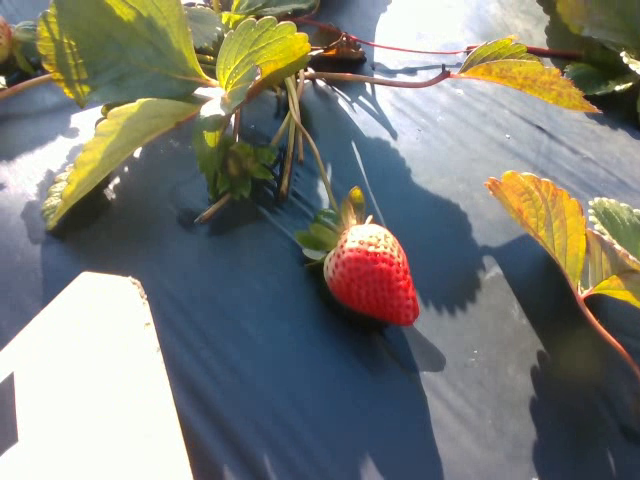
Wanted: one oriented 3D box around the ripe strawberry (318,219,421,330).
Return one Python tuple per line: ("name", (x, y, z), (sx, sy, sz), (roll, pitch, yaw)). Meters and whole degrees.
("ripe strawberry", (0.026, 0.016, 0.258), (0.043, 0.045, 0.064), (13, 29, -53))
